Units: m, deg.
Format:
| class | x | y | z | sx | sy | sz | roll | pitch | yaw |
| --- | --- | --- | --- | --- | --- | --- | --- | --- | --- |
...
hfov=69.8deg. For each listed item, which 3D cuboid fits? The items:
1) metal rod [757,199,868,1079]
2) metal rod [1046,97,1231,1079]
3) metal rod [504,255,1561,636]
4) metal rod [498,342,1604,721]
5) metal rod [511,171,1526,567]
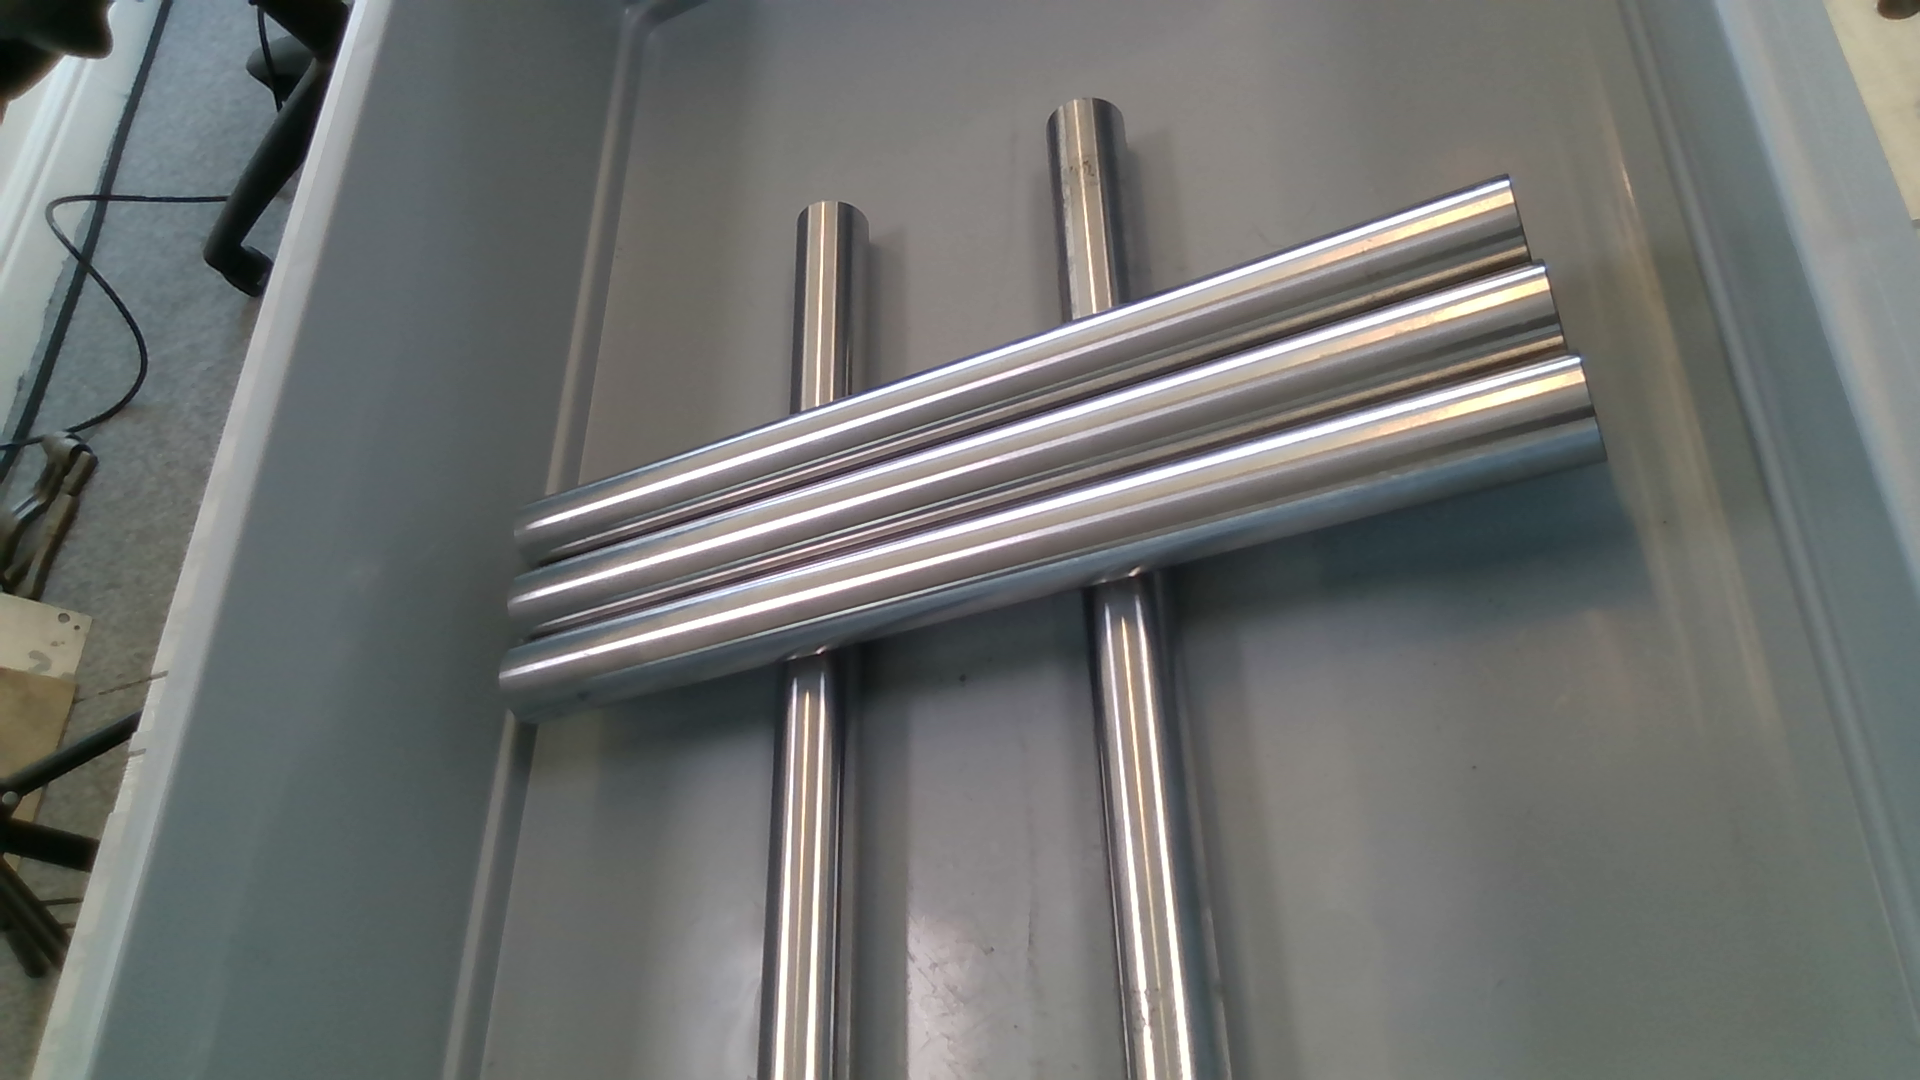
| class | x | y | z | sx | sy | sz | roll | pitch | yaw |
| --- | --- | --- | --- | --- | --- | --- | --- | --- | --- |
| metal rod | -0.041 | 0.022 | 0.406 | 0.025 | 0.025 | 0.299 | -16 | 58 | 24 |
| metal rod | 0.043 | 0.000 | 0.365 | 0.025 | 0.025 | 0.299 | -16 | 58 | 24 |
| metal rod | -0.001 | -0.015 | 0.367 | 0.300 | 0.025 | 0.025 | -15 | 58 | 24 |
| metal rod | 0.002 | 0.006 | 0.354 | 0.300 | 0.025 | 0.025 | -15 | 58 | 24 |
| metal rod | -0.003 | -0.037 | 0.380 | 0.300 | 0.025 | 0.025 | -15 | 58 | 24 |
